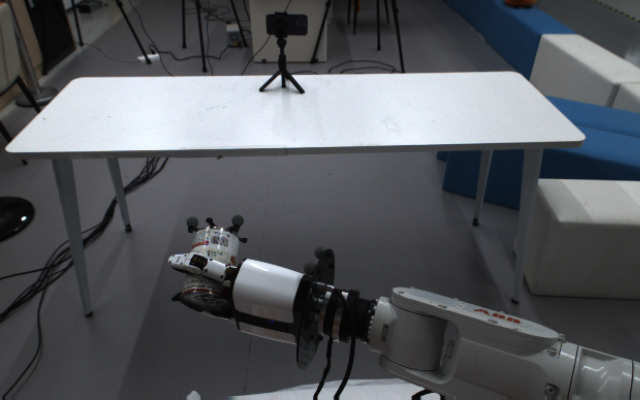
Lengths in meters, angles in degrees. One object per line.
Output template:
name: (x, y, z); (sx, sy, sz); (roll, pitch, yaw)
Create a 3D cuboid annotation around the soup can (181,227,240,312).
soup can: (-0.152, 0.098, 0.678); (0.067, 0.067, 0.101); (3, 57, 1)
